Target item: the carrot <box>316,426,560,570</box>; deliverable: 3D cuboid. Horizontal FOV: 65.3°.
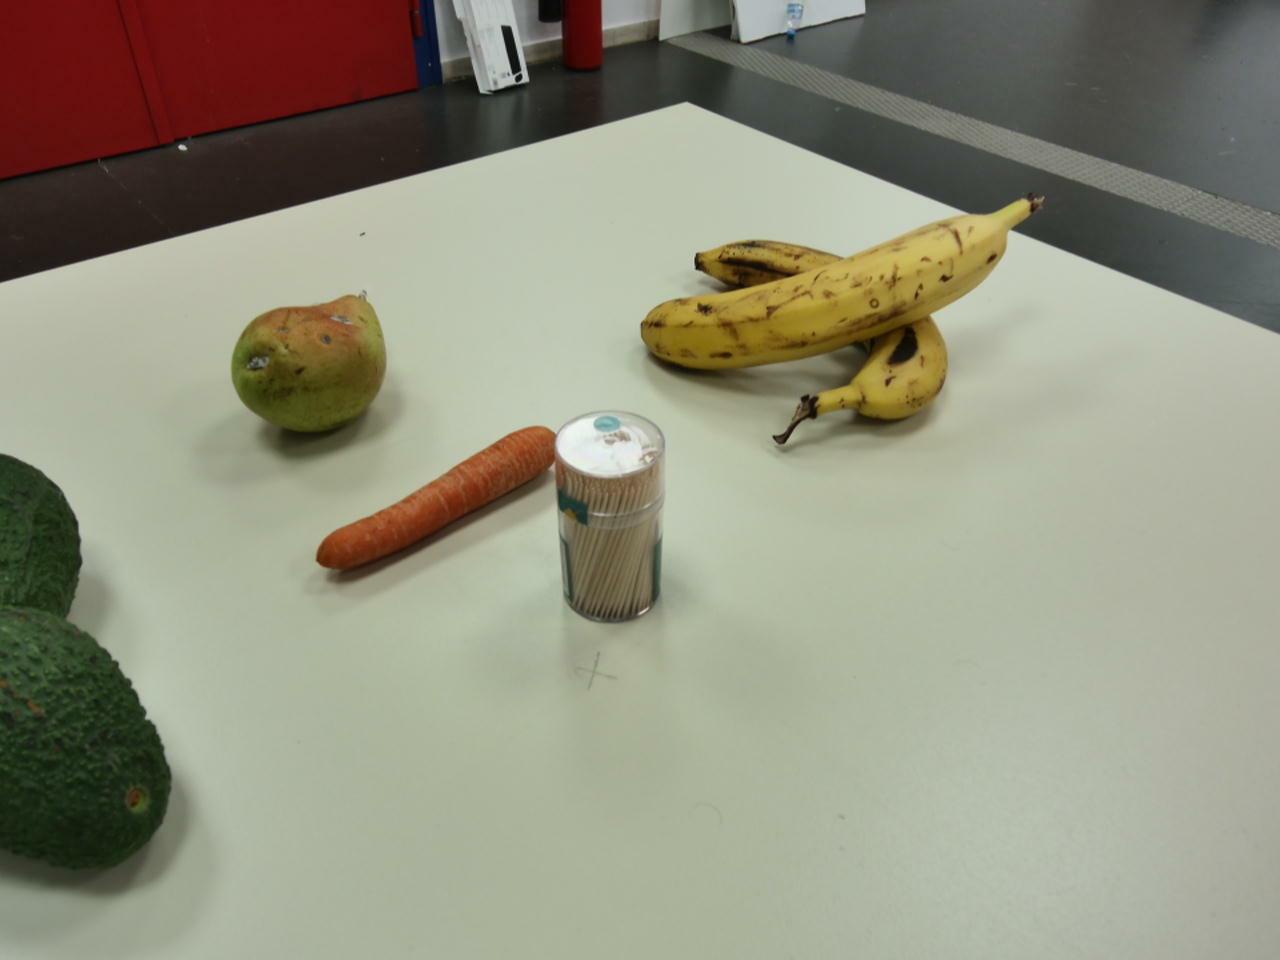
[{"bbox_3d":[-0.084,0.006,0.433,0.122,0.023,0.024,-28,46,-33],"label":"carrot"}]
